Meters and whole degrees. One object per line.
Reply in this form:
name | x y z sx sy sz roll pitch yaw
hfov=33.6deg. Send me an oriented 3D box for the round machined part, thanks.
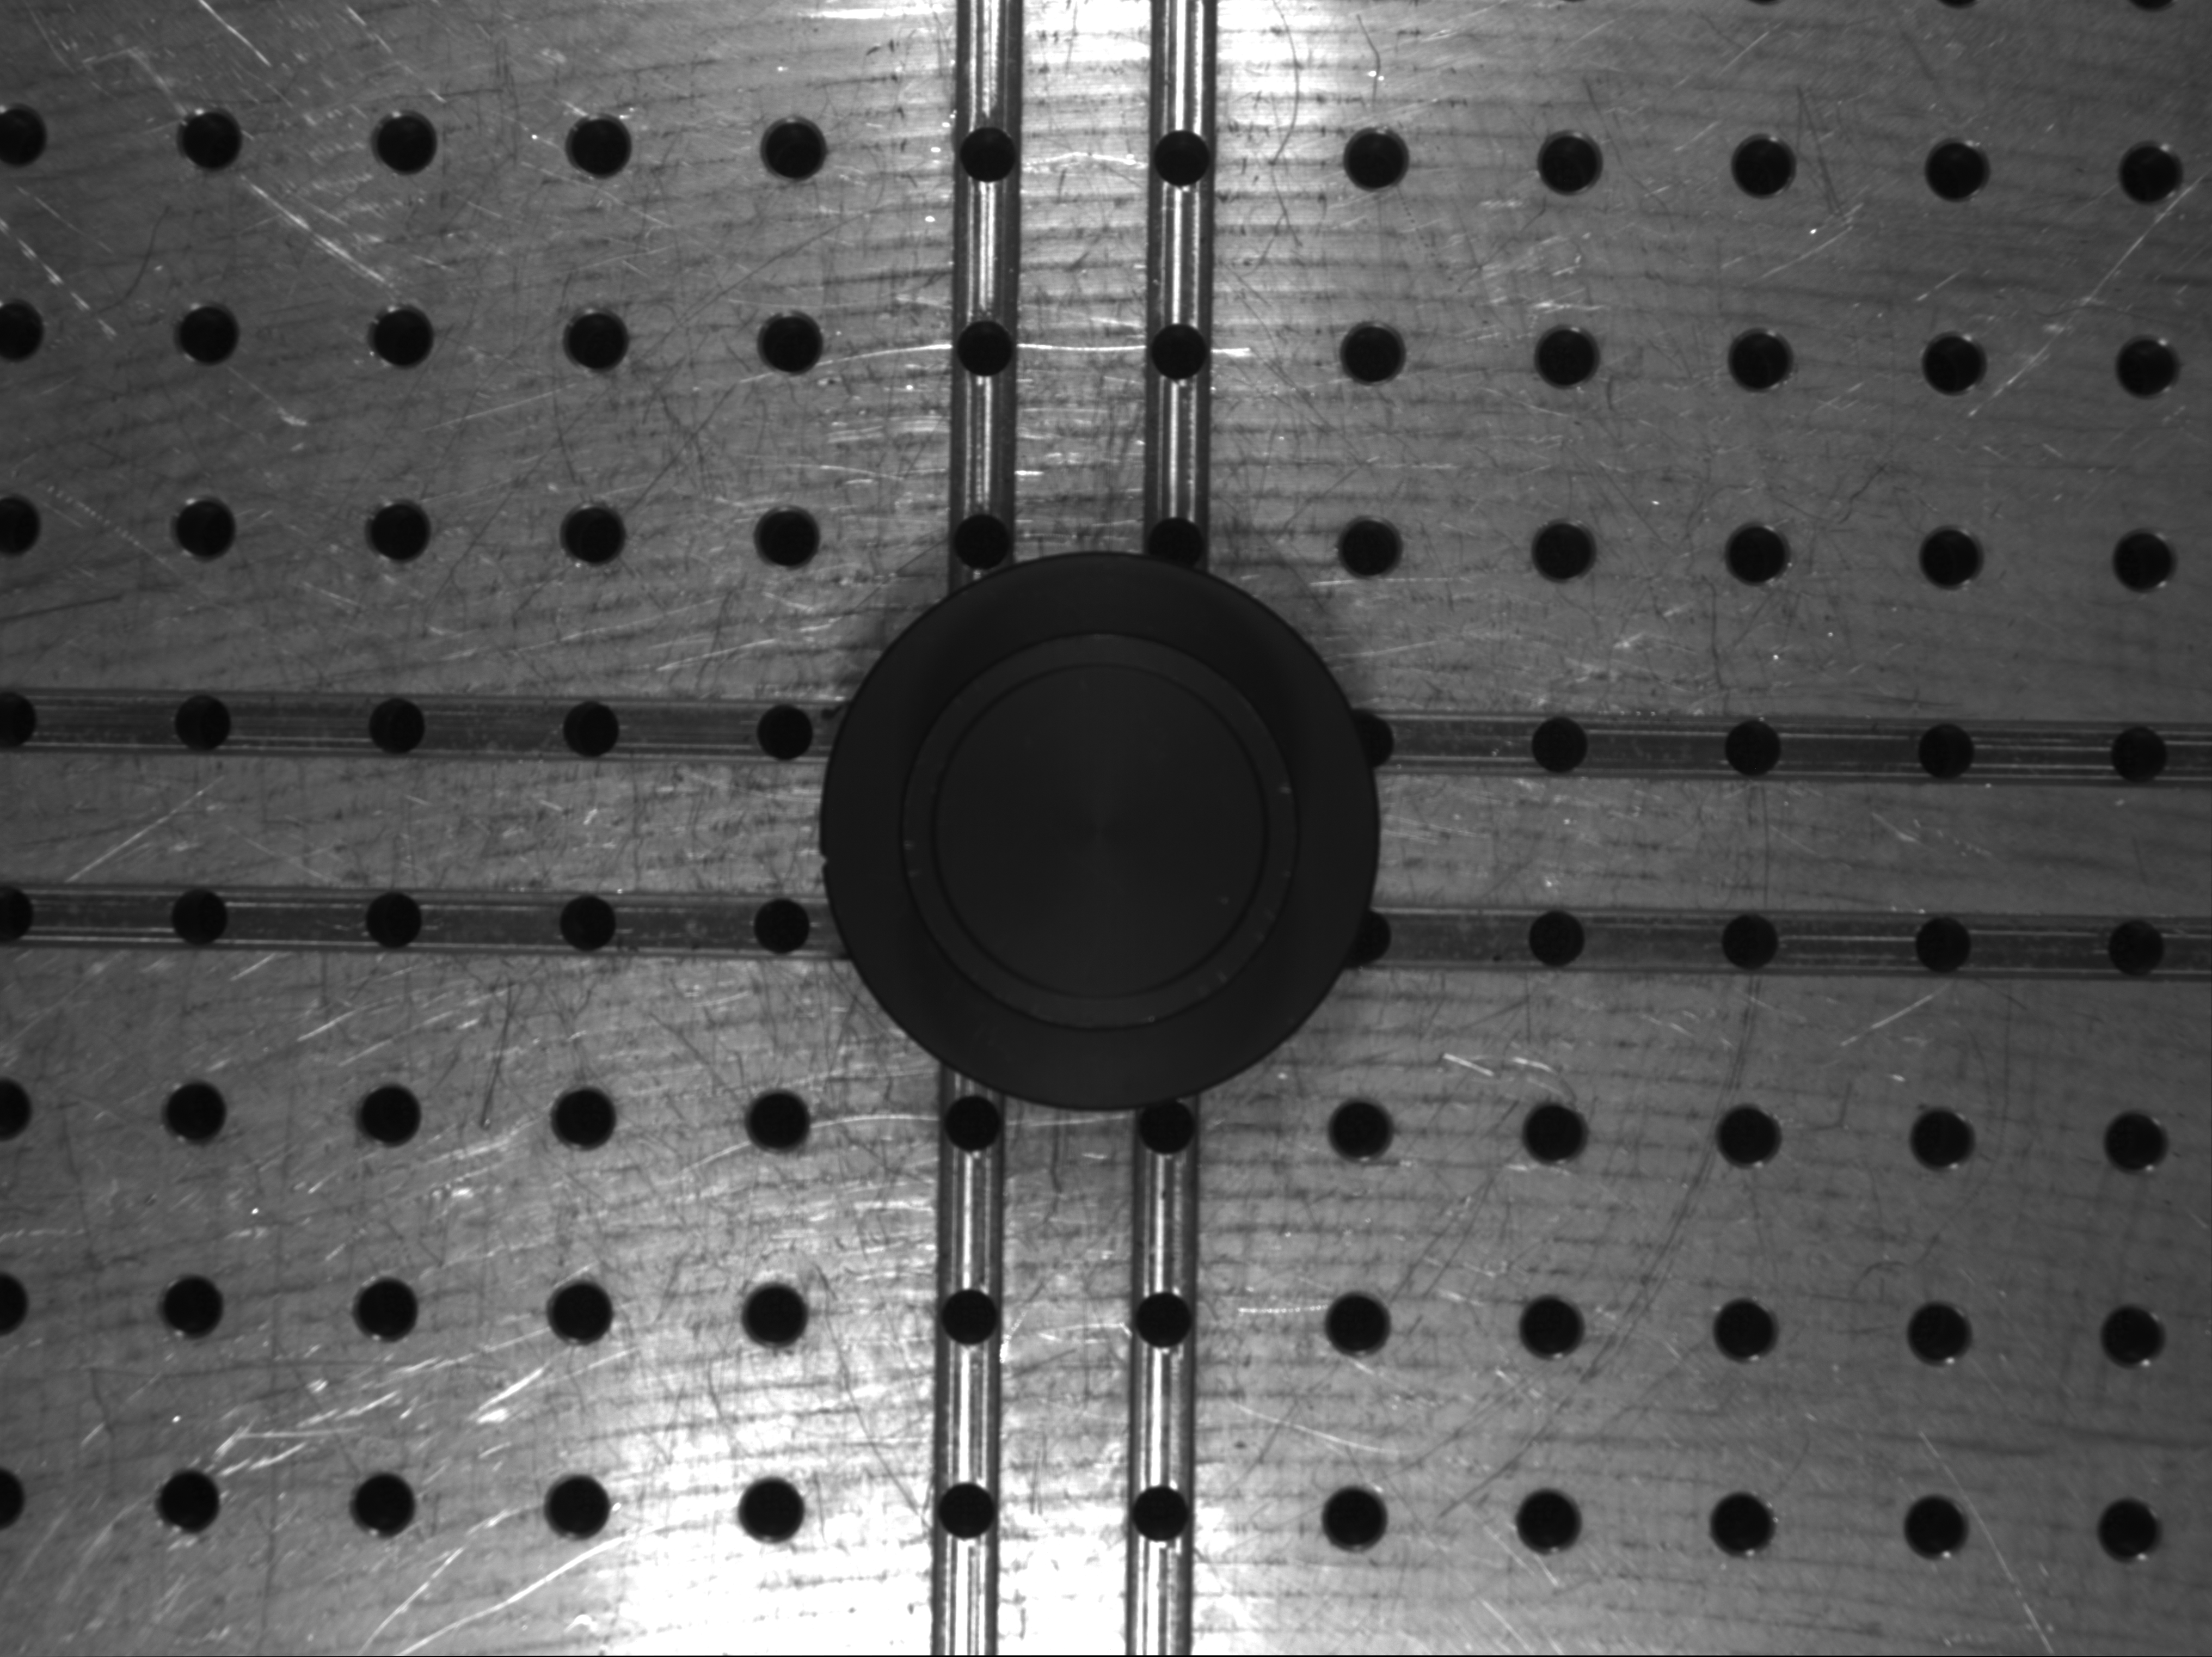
round machined part | -0.003 0.001 0.639 0.098 0.042 0.098 0 90 0
